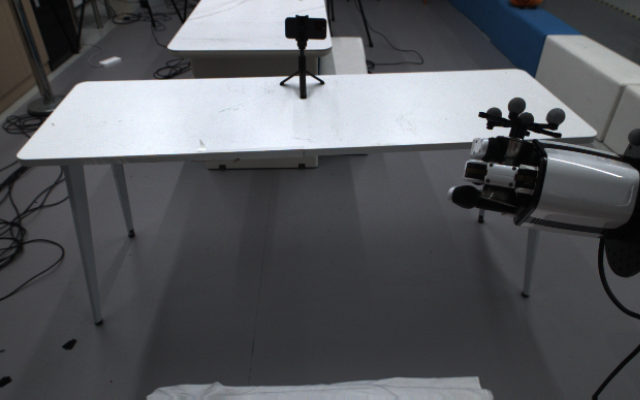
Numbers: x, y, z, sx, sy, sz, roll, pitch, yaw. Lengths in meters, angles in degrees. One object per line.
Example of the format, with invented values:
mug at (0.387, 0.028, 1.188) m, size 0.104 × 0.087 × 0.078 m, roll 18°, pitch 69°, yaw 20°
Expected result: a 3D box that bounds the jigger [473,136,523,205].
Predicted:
jigger at (0.200, -0.031, 0.519) m, size 0.043 × 0.071 × 0.043 m, roll 17°, pitch 2°, yaw -1°
